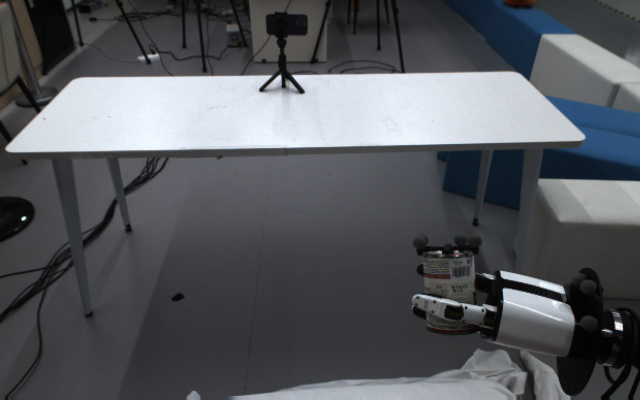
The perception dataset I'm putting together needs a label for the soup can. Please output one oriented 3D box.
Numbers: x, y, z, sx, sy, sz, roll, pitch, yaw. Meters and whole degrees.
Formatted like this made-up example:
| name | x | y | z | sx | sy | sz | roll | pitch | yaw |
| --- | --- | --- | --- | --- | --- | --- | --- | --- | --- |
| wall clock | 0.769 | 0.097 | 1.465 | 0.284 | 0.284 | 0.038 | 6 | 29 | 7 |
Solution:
| name | x | y | z | sx | sy | sz | roll | pitch | yaw |
| --- | --- | --- | --- | --- | --- | --- | --- | --- | --- |
| soup can | 0.173 | 0.119 | 0.638 | 0.067 | 0.101 | 0.067 | -3 | -2 | 0 |
